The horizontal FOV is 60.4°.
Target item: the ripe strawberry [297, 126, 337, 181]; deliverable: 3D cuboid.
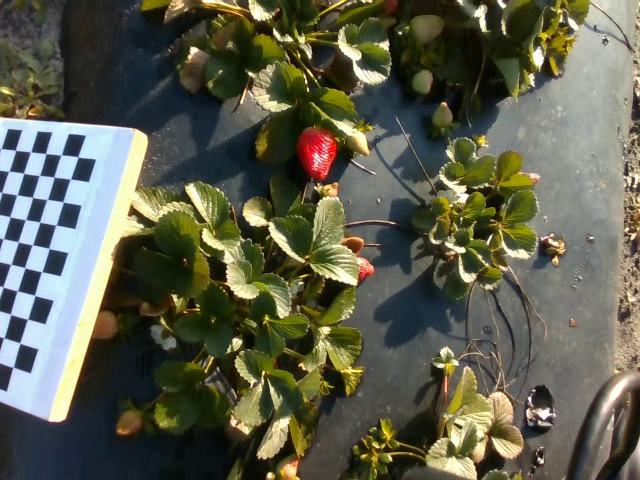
[{"bbox_3d":[-0.005,-0.094,0.611,0.056,0.072,0.055,-15,-25,24],"label":"ripe strawberry"}]
